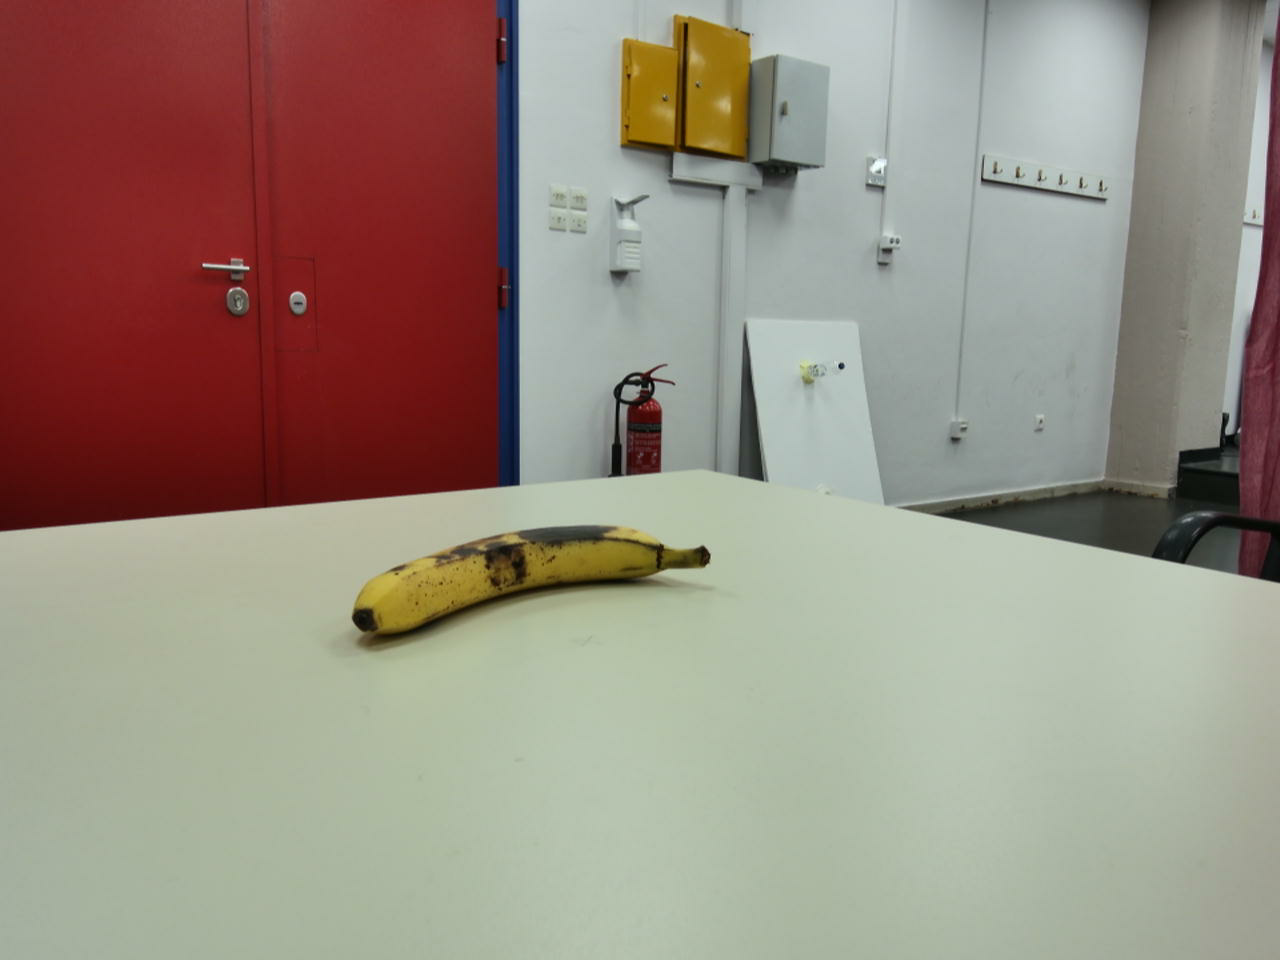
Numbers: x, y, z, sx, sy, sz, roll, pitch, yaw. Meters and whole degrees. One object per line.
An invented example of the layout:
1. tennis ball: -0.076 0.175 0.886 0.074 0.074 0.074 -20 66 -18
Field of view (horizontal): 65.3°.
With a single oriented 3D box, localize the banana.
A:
1. banana: -0.068 0.053 0.577 0.222 0.037 0.084 -5 9 -36
